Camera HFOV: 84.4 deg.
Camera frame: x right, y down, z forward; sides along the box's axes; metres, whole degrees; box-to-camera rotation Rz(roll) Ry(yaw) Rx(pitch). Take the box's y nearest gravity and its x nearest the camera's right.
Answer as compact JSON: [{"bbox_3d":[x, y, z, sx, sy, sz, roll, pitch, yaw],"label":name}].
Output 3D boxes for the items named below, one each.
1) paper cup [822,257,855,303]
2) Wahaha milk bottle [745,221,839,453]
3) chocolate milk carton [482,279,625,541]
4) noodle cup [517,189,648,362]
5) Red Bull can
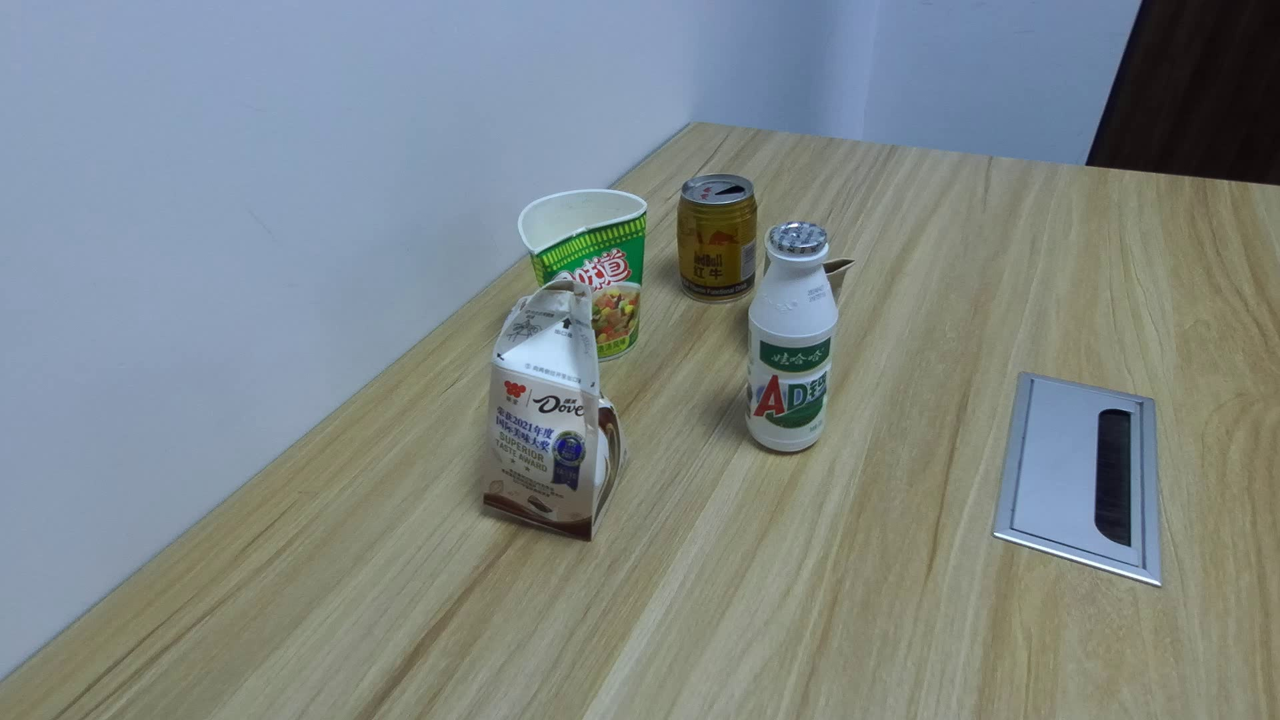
[{"bbox_3d":[0.121,-0.041,0.531,0.058,0.083,0.066,1,18,-4],"label":"paper cup"},{"bbox_3d":[0.092,-0.010,0.430,0.053,0.147,0.053,-4,38,3],"label":"Wahaha milk bottle"},{"bbox_3d":[-0.049,0.021,0.414,0.076,0.155,0.089,8,26,11],"label":"chocolate milk carton"},{"bbox_3d":[-0.038,-0.064,0.545,0.094,0.110,0.086,-10,37,-7],"label":"noodle cup"},{"bbox_3d":[0.066,-0.103,0.600,0.068,0.093,0.068,-3,37,2],"label":"Red Bull can"}]
